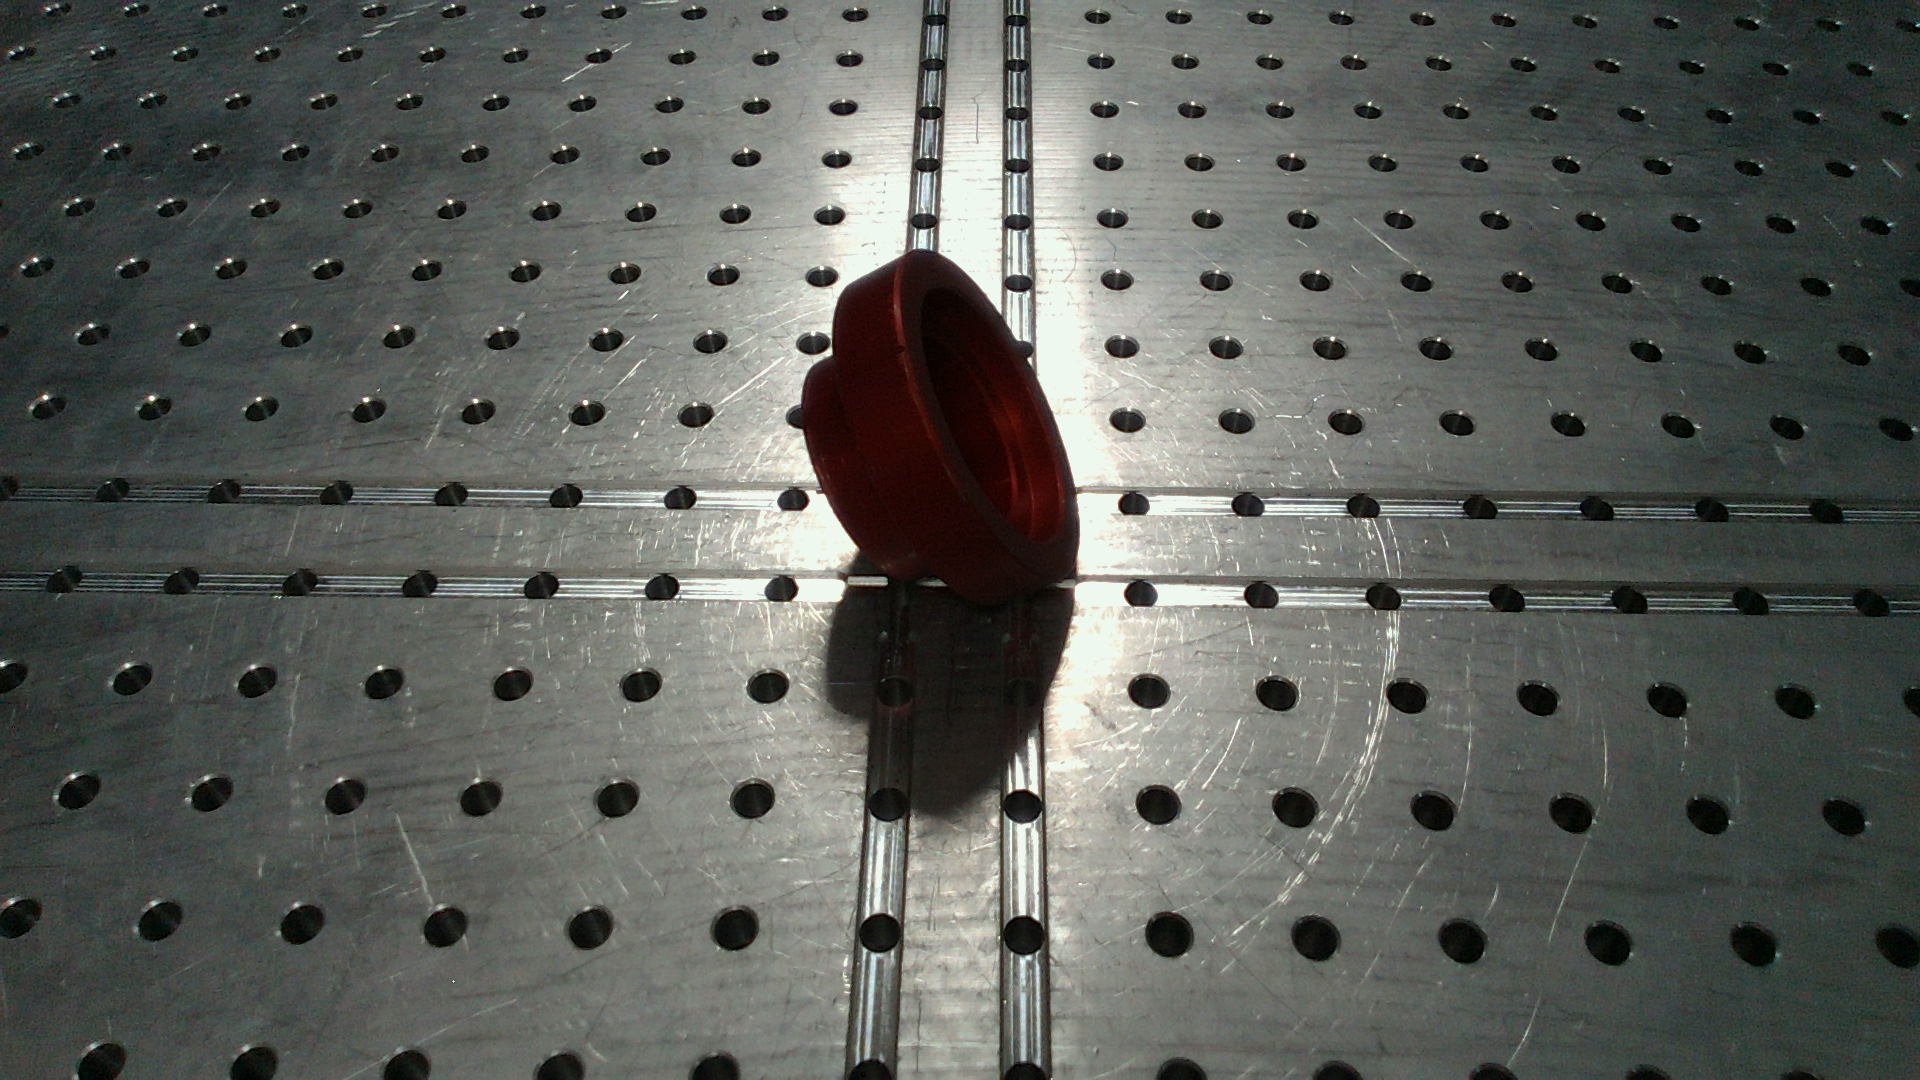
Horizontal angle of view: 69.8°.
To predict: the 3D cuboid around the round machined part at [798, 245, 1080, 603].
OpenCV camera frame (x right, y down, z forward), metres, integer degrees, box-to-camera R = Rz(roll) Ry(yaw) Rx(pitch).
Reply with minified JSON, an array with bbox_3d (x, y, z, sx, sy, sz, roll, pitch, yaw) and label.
[{"bbox_3d":[-0.008,-0.028,0.382,0.042,0.098,0.098,-23,46,22],"label":"round machined part"}]
